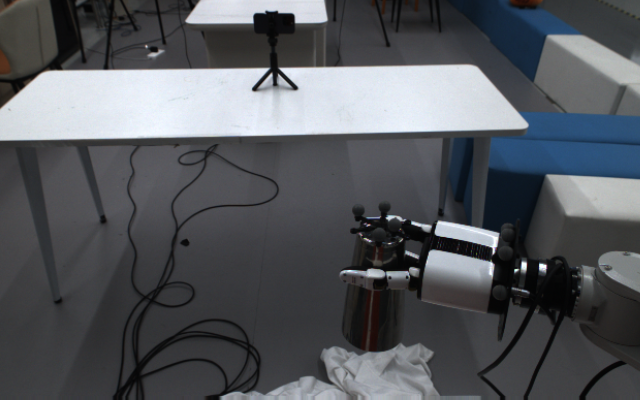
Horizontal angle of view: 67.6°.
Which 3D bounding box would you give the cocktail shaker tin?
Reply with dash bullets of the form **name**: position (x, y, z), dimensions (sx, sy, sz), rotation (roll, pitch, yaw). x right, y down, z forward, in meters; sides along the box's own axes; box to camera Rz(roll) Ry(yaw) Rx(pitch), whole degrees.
- **cocktail shaker tin**: position (0.083, 0.115, 0.691), dimensions (0.093, 0.170, 0.093), rotation (1, 27, -1)
